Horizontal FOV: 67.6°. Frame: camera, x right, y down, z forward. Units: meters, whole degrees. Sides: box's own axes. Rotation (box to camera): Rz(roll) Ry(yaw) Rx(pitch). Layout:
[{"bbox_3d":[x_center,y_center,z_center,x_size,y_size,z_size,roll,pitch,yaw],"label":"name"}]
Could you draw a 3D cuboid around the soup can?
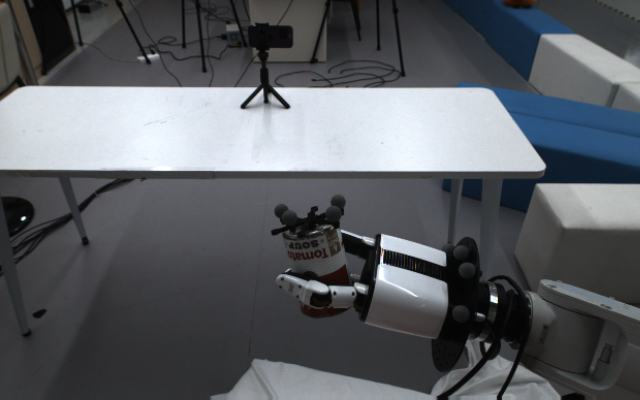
[{"bbox_3d":[0.002,0.076,0.564,0.067,0.101,0.067,-12,17,4],"label":"soup can"}]
